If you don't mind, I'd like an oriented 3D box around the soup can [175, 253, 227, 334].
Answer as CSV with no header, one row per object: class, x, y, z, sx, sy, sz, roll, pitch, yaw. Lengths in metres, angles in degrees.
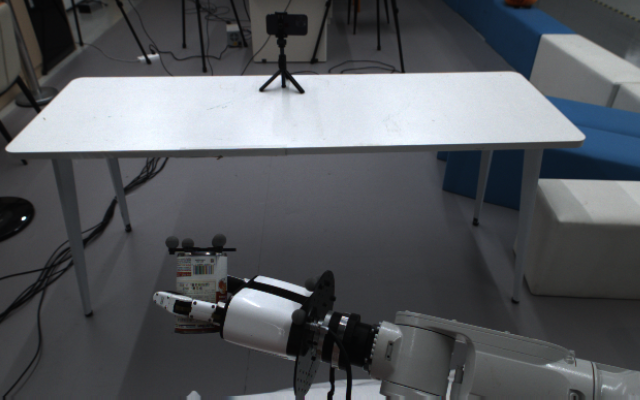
soup can,-0.155,0.123,0.639,0.067,0.101,0.067,-2,-10,0
